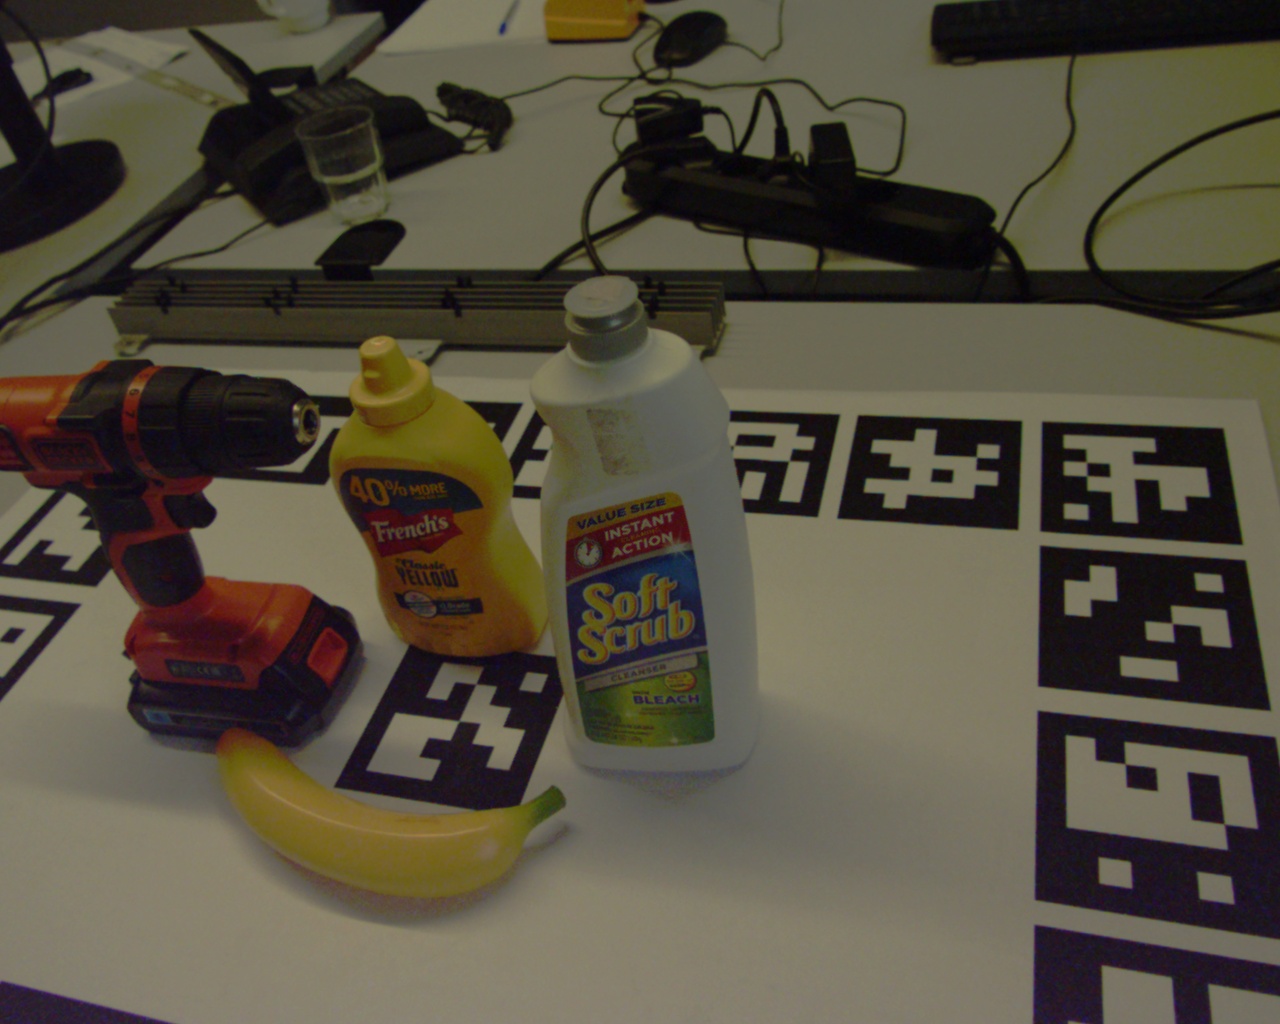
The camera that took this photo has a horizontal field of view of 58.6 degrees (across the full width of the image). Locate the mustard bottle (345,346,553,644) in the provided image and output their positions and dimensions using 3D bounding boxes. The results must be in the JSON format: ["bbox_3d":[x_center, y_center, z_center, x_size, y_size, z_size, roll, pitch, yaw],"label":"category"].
[{"bbox_3d":[-0.110,-0.009,0.629,0.097,0.190,0.058,5,44,15],"label":"mustard bottle"}]

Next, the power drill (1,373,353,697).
[{"bbox_3d":[-0.225,0.013,0.604,0.185,0.186,0.057,3,37,12],"label":"power drill"}]

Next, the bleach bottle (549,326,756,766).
[{"bbox_3d":[-0.001,0.024,0.539,0.103,0.249,0.068,-2,44,9],"label":"bleach bottle"}]

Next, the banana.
[{"bbox_3d":[-0.128,0.144,0.579,0.199,0.038,0.074,4,49,20],"label":"banana"}]
